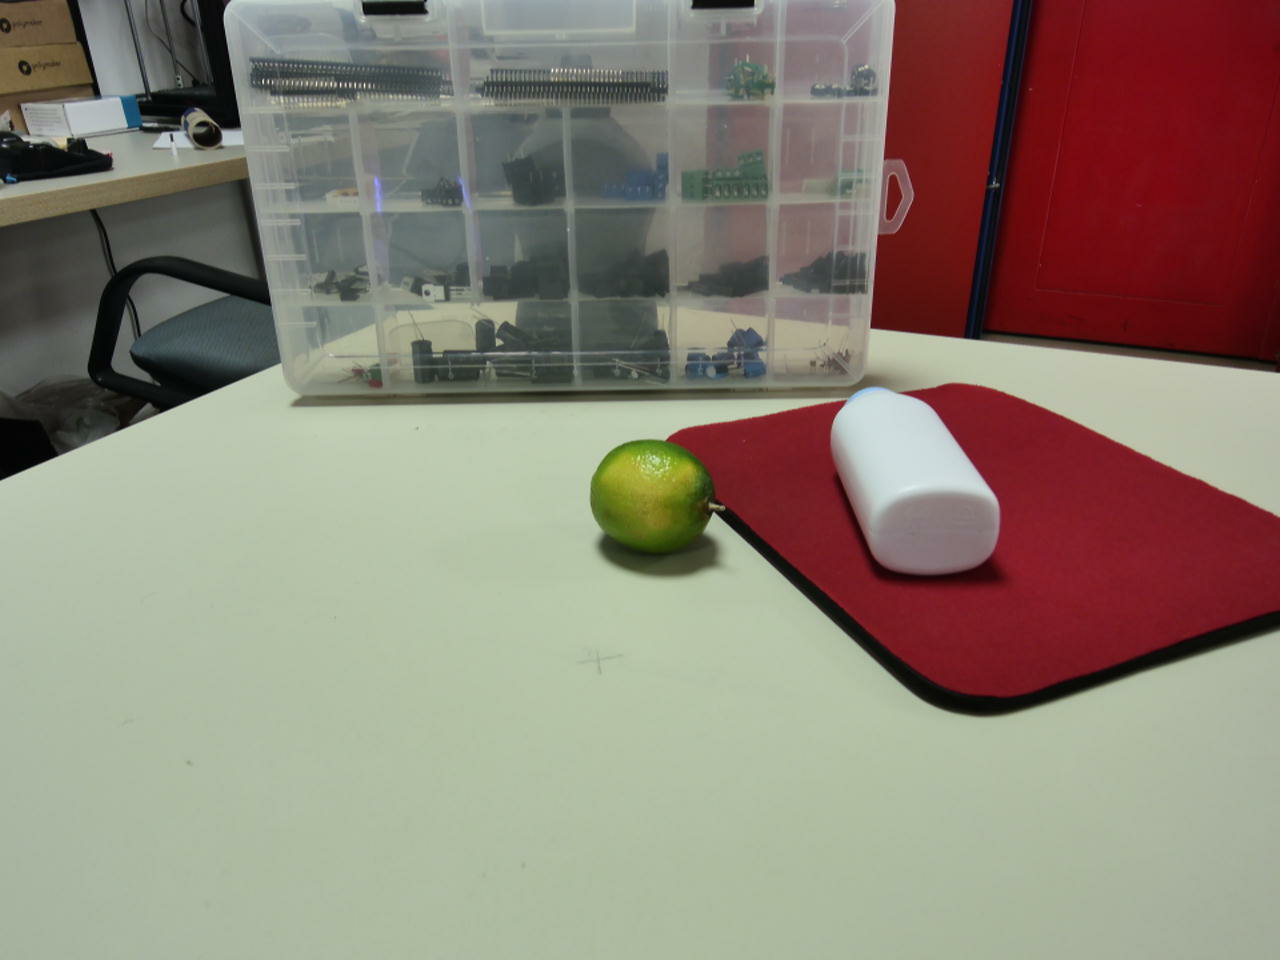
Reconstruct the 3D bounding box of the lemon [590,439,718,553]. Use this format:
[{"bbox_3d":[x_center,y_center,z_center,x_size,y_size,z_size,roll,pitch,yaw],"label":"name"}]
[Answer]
[{"bbox_3d":[0.005,0.007,0.449,0.054,0.050,0.055,-6,24,-13],"label":"lemon"}]
